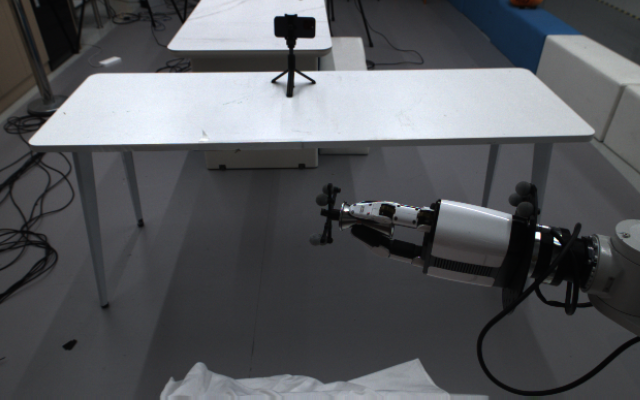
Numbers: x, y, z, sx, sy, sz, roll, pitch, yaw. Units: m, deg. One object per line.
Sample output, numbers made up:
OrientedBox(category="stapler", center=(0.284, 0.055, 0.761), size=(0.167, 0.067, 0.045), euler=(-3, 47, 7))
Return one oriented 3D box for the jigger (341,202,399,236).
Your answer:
OrientedBox(category="jigger", center=(0.069, 0.021, 0.629), size=(0.071, 0.043, 0.043), euler=(7, 35, 13))
